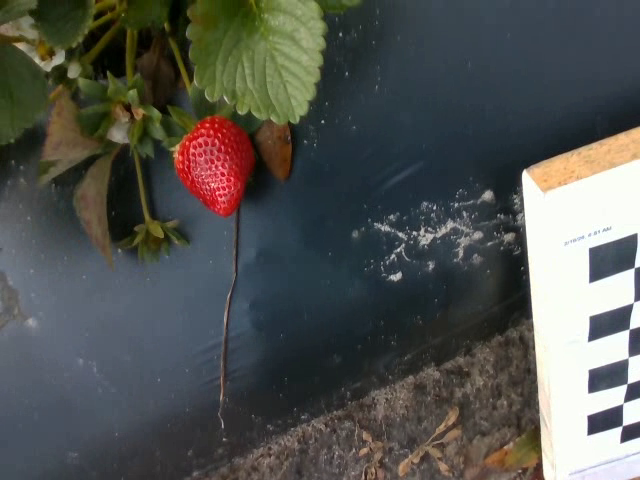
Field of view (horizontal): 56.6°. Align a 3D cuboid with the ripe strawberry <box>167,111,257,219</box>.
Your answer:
[{"bbox_3d":[-0.055,-0.033,0.307,0.050,0.053,0.049,-26,-34,6],"label":"ripe strawberry"}]
